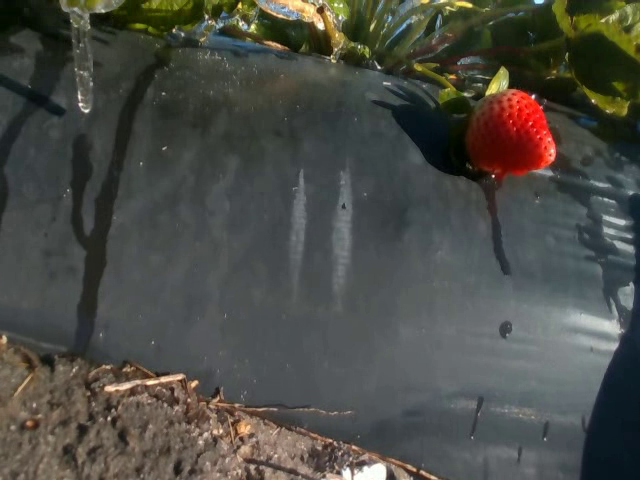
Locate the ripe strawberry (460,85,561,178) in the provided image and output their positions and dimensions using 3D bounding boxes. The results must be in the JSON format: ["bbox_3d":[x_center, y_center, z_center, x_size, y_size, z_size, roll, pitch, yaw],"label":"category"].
[{"bbox_3d":[0.085,-0.043,0.255,0.039,0.041,0.053,-3,34,-15],"label":"ripe strawberry"}]
